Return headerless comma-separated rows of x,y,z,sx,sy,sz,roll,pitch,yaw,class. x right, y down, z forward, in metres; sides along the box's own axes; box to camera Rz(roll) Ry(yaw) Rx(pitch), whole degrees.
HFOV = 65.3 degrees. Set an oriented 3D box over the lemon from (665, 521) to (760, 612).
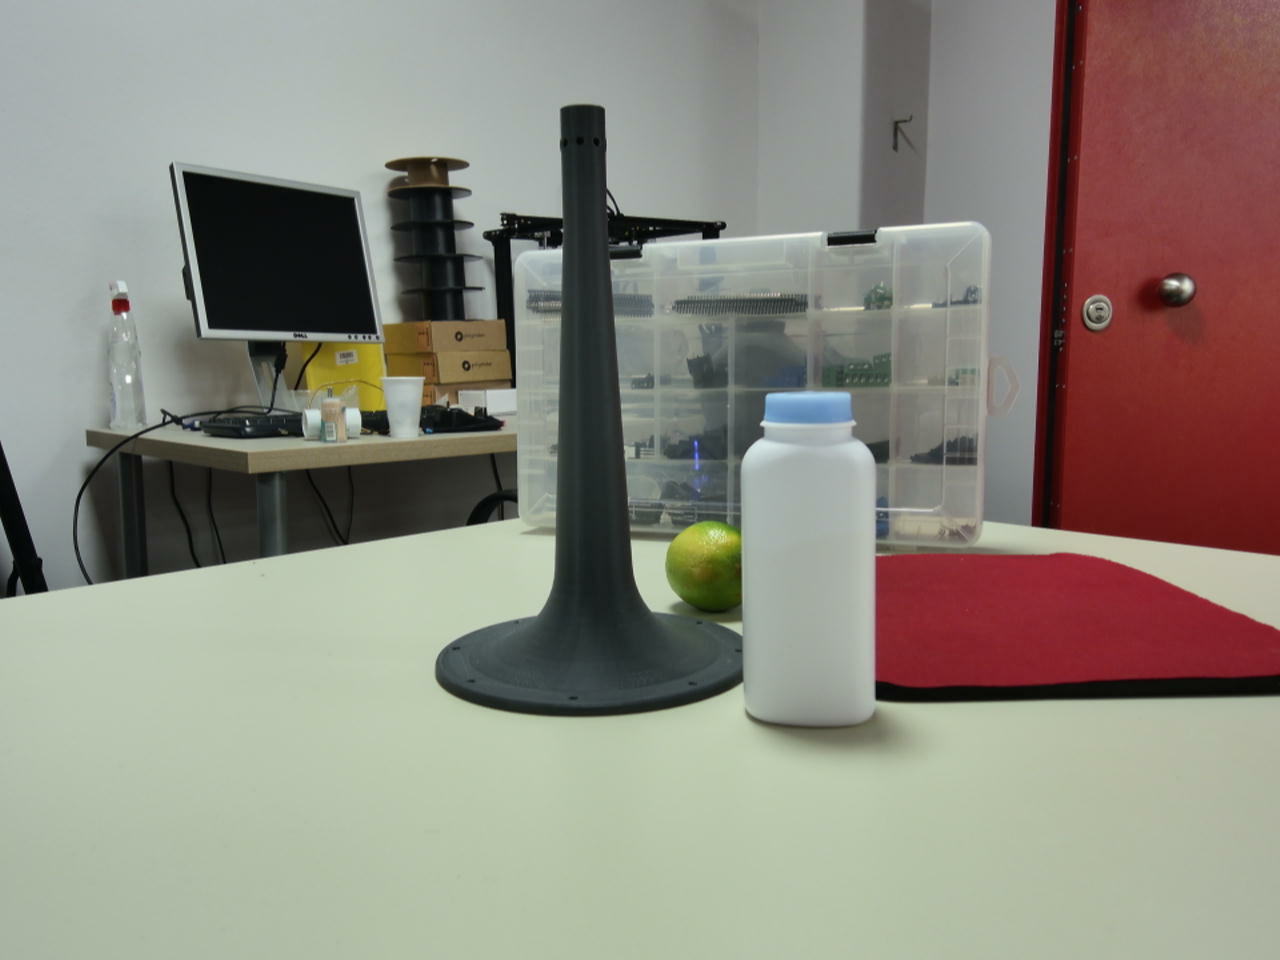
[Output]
0.042,0.049,0.574,0.054,0.050,0.055,0,5,7,lemon
